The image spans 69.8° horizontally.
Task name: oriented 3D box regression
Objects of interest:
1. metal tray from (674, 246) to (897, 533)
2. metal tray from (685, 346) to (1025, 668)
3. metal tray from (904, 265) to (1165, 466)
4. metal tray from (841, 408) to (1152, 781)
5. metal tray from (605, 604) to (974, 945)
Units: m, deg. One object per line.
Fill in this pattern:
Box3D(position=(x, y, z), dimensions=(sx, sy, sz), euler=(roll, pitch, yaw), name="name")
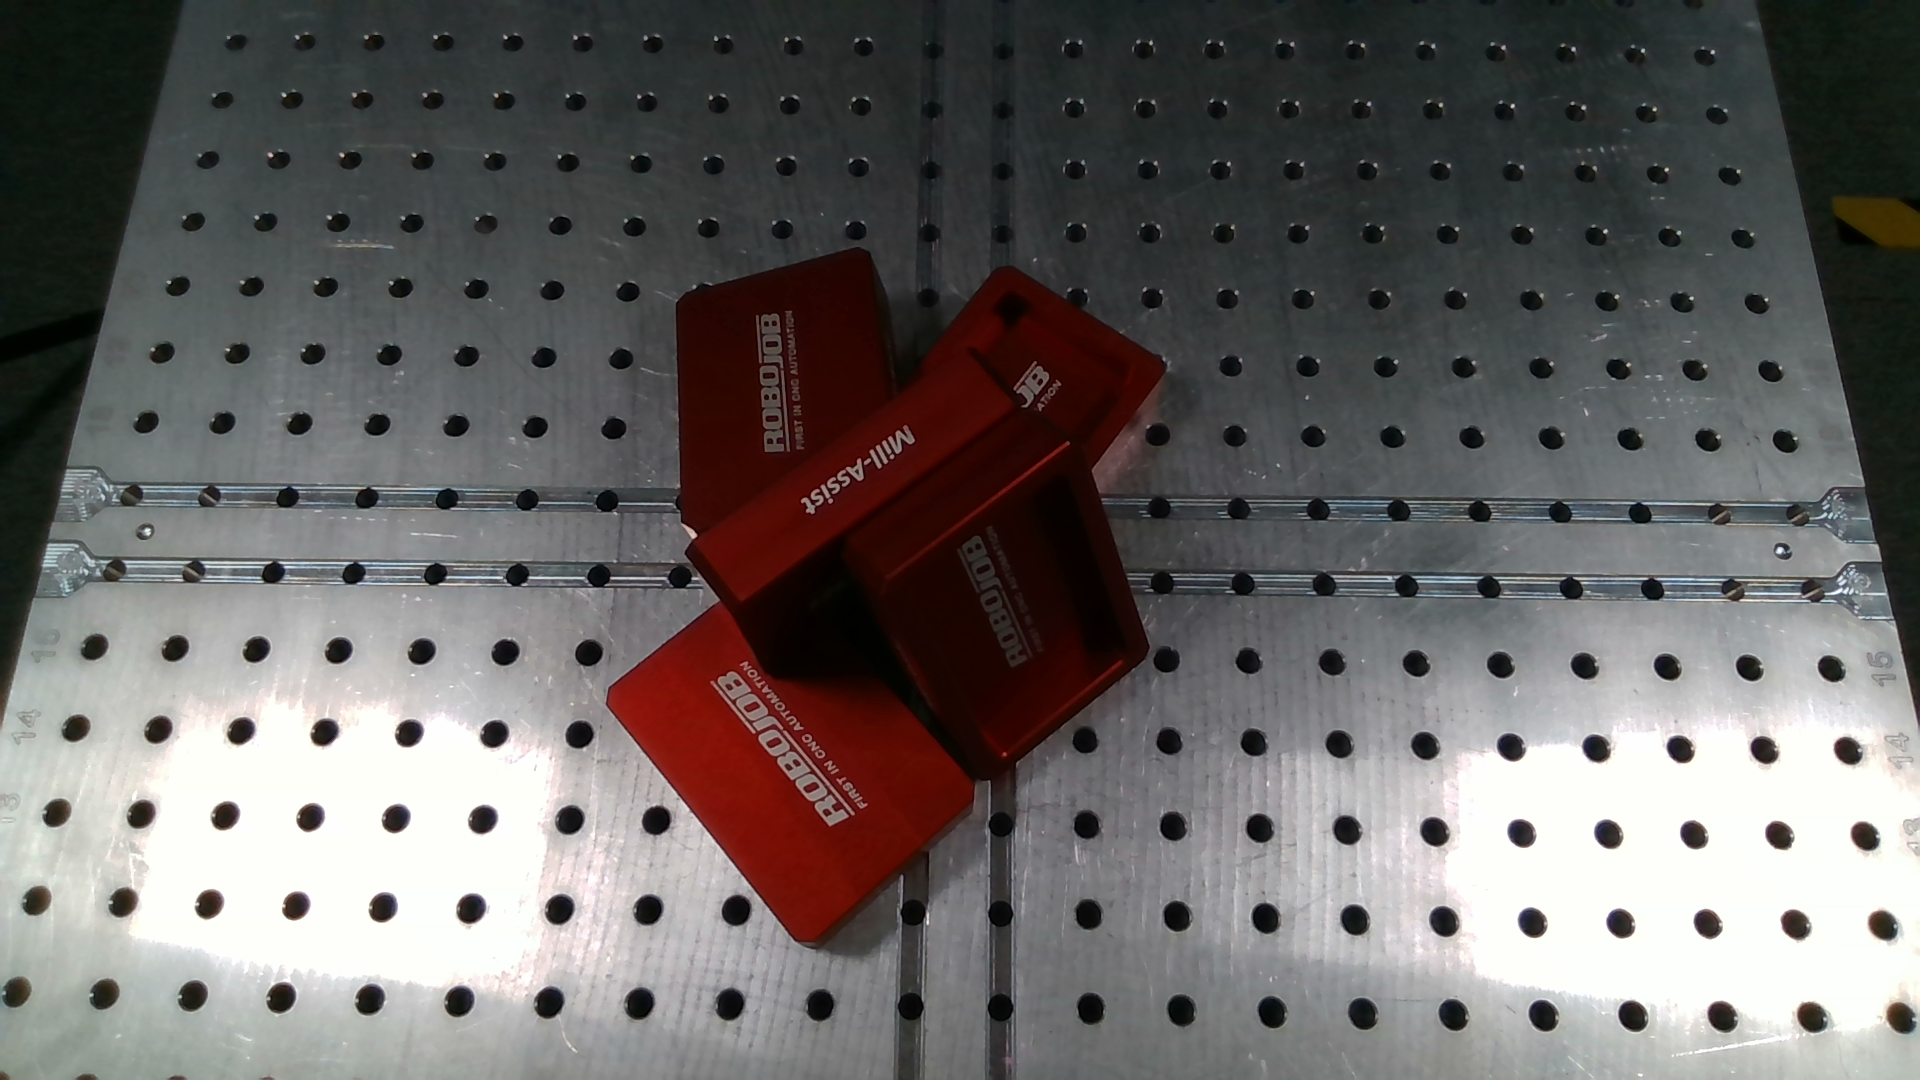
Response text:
Box3D(position=(-0.072, -0.060, 0.584), dimensions=(0.090, 0.030, 0.130), euler=(-13, 56, 6), name="metal tray")
Box3D(position=(-0.036, -0.009, 0.527), dimensions=(0.130, 0.090, 0.030), euler=(-37, 74, -12), name="metal tray")
Box3D(position=(0.017, -0.047, 0.605), dimensions=(0.090, 0.030, 0.130), euler=(34, 74, 11), name="metal tray")
Box3D(position=(0.019, 0.024, 0.526), dimensions=(0.090, 0.130, 0.030), euler=(-37, 46, -12), name="metal tray")
Box3D(position=(-0.068, 0.085, 0.556), dimensions=(0.090, 0.030, 0.130), euler=(-40, 75, -13), name="metal tray")
